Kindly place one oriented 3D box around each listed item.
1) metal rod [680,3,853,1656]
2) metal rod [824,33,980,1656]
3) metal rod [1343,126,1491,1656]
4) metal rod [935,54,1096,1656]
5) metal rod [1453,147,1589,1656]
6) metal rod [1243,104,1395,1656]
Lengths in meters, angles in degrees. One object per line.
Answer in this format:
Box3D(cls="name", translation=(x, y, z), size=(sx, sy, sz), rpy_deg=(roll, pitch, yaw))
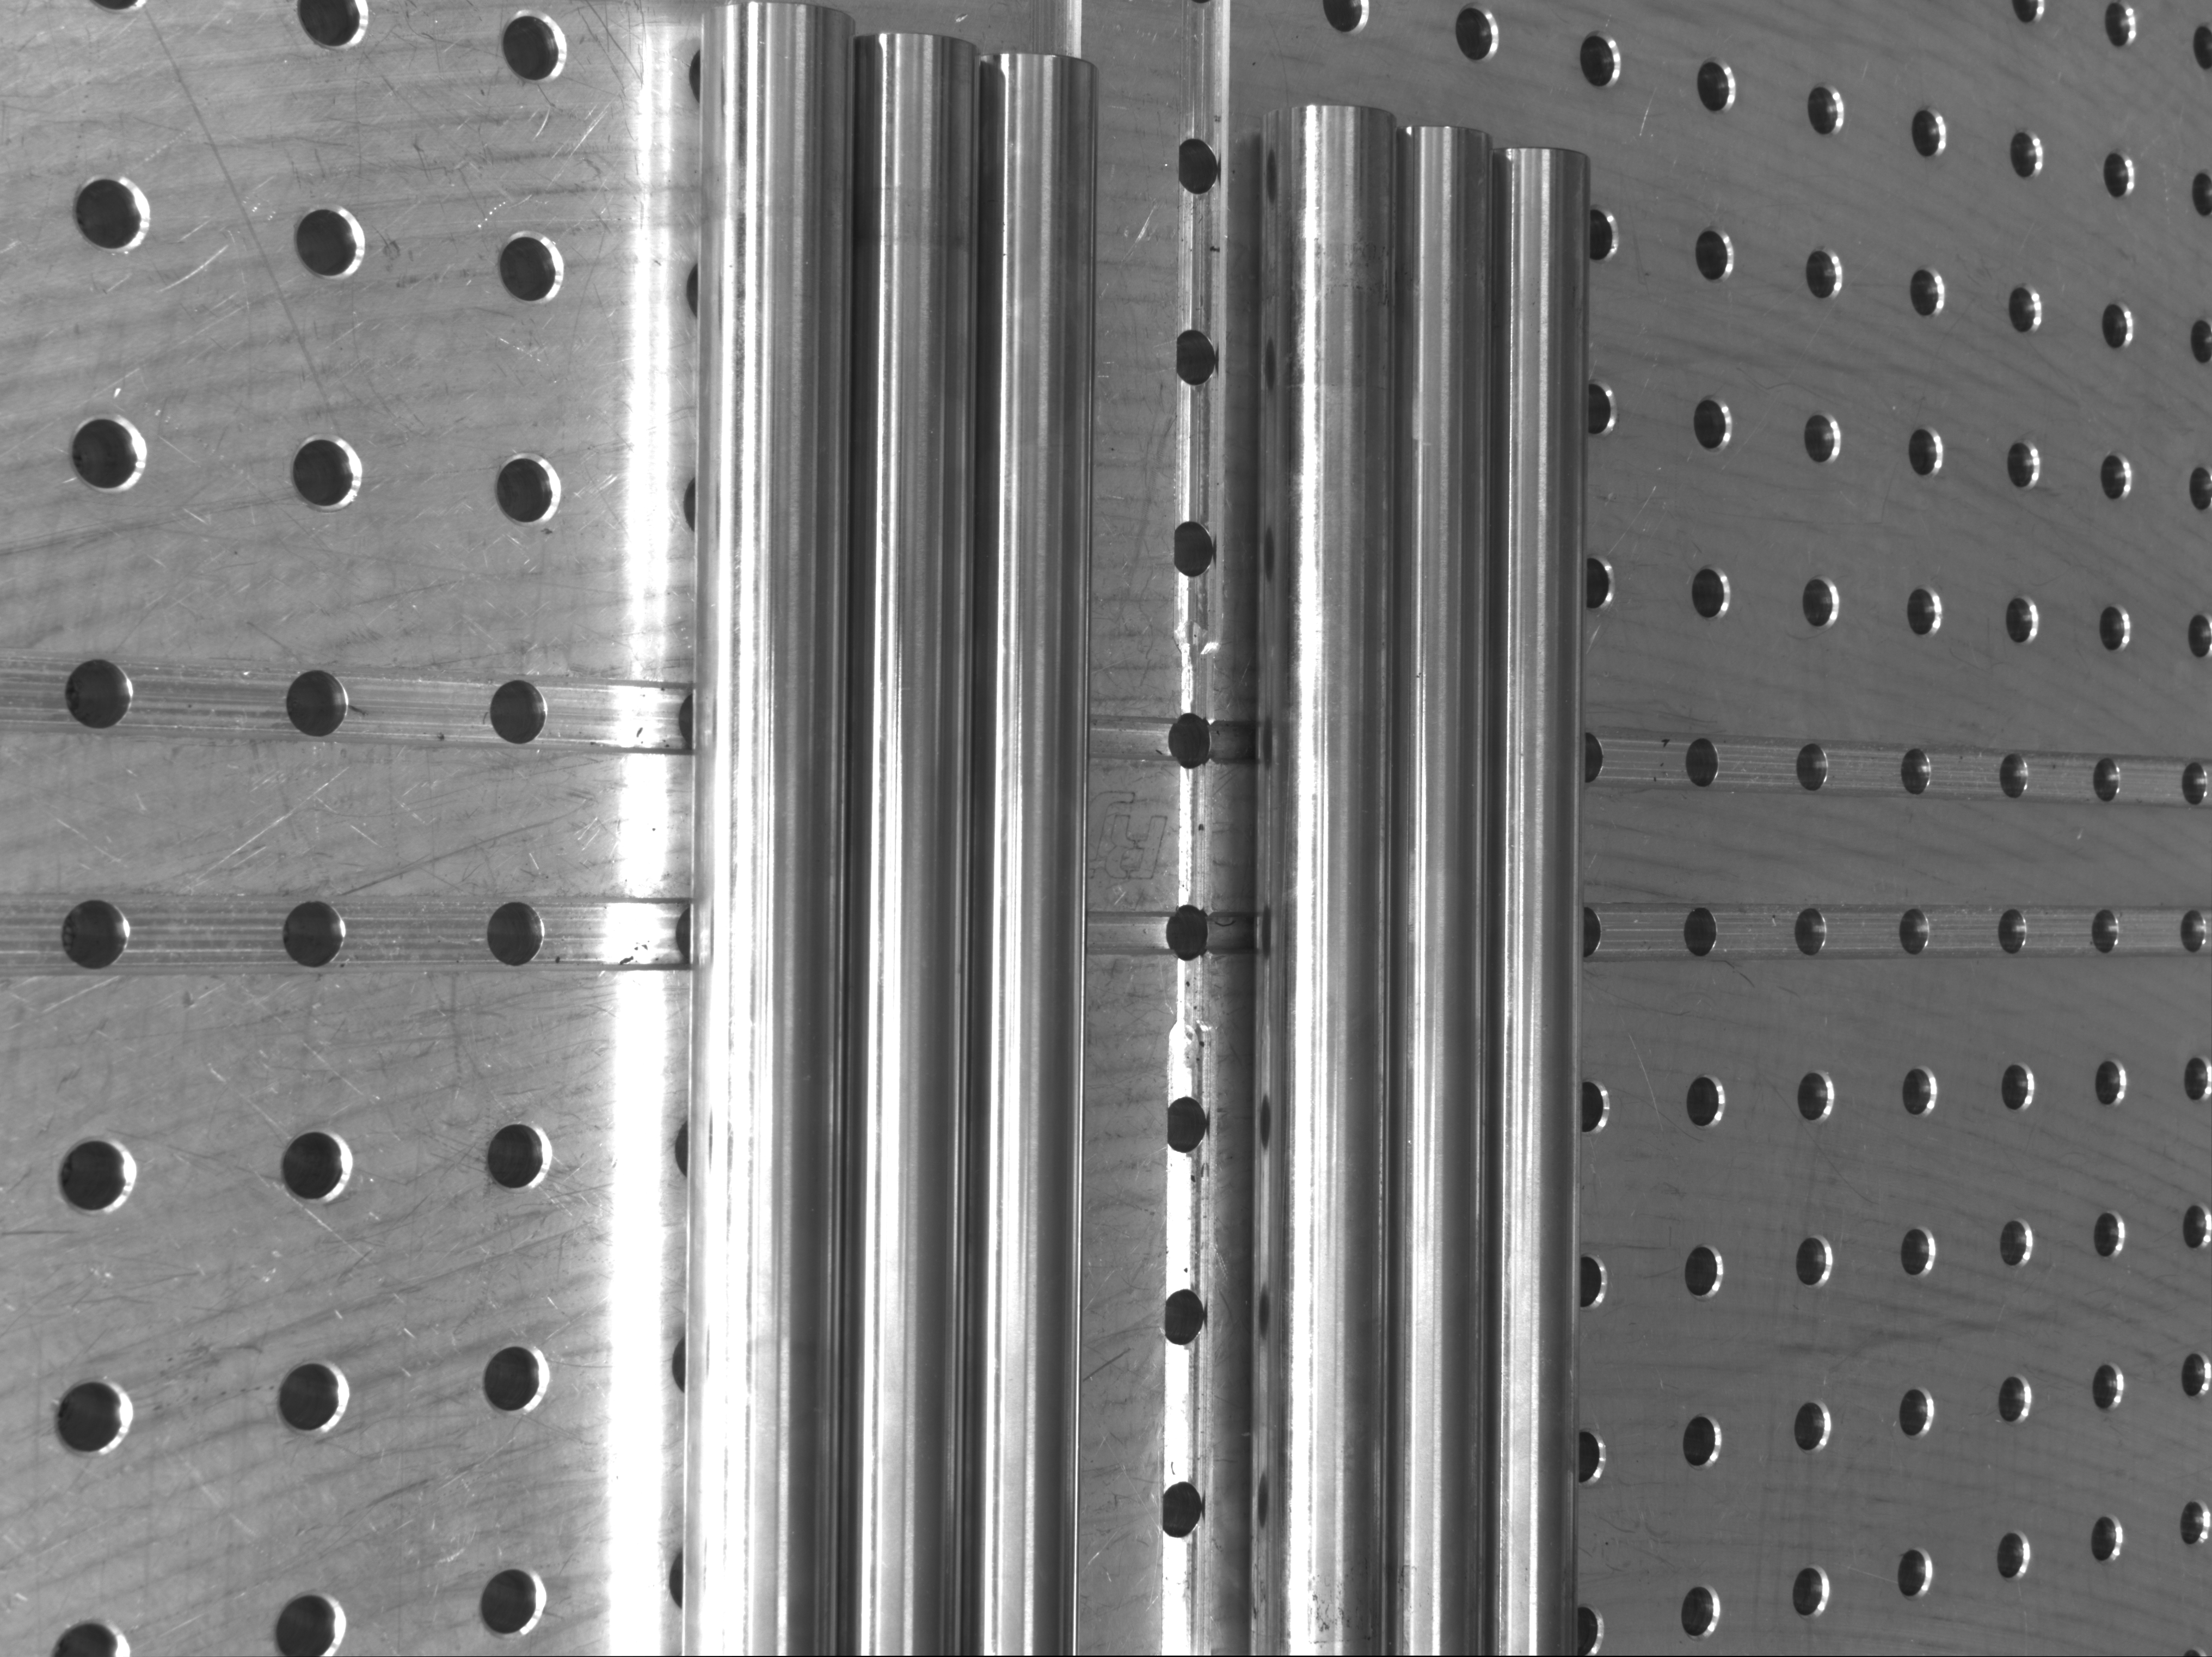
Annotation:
Box3D(cls="metal rod", translation=(-0.055, 0.019, 0.593), size=(0.025, 0.025, 0.300), rpy_deg=(1, 89, -40))
Box3D(cls="metal rod", translation=(-0.035, 0.021, 0.609), size=(0.025, 0.025, 0.300), rpy_deg=(1, 89, -40))
Box3D(cls="metal rod", translation=(0.058, 0.021, 0.687), size=(0.025, 0.025, 0.300), rpy_deg=(1, 89, -40))
Box3D(cls="metal rod", translation=(-0.016, 0.020, 0.625), size=(0.025, 0.025, 0.300), rpy_deg=(1, 89, -40))
Box3D(cls="metal rod", translation=(0.079, 0.022, 0.704), size=(0.025, 0.025, 0.300), rpy_deg=(1, 89, -40))
Box3D(cls="metal rod", translation=(0.039, 0.020, 0.671), size=(0.025, 0.025, 0.300), rpy_deg=(1, 89, -40))
